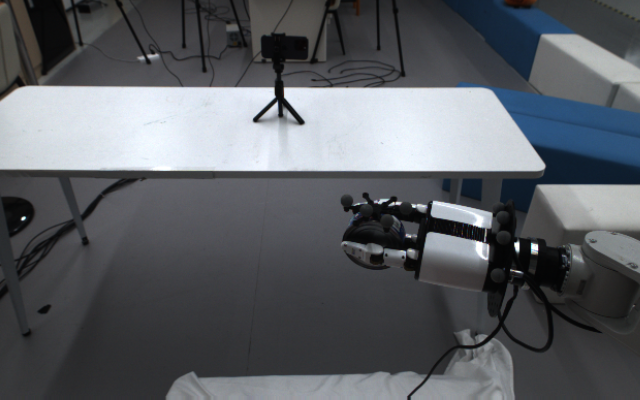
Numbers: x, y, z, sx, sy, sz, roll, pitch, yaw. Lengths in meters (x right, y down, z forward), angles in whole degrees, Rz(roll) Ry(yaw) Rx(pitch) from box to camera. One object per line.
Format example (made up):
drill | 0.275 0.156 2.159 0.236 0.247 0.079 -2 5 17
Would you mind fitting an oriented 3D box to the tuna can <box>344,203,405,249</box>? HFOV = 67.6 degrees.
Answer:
tuna can | 0.078 0.052 0.679 0.085 0.085 0.034 10 34 12
